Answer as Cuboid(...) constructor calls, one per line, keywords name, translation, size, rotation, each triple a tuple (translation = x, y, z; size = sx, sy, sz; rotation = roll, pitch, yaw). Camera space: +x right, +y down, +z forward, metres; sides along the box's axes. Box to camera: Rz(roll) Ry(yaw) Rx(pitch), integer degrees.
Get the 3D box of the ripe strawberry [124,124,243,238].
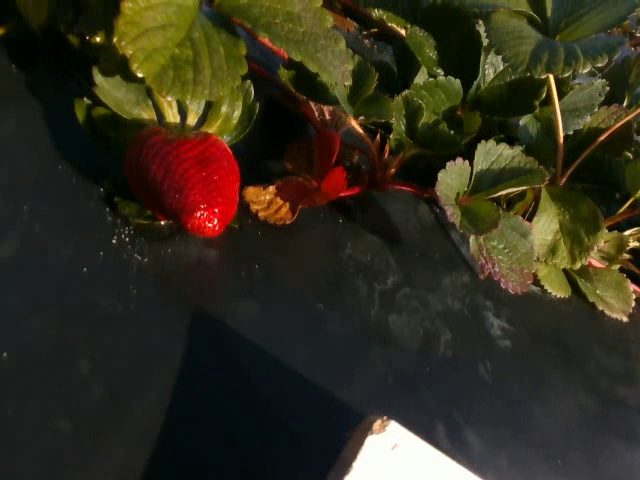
Cuboid(name="ripe strawberry", translation=(-0.042, -0.018, 0.194), size=(0.040, 0.041, 0.056), rotation=(-16, 34, -14))
